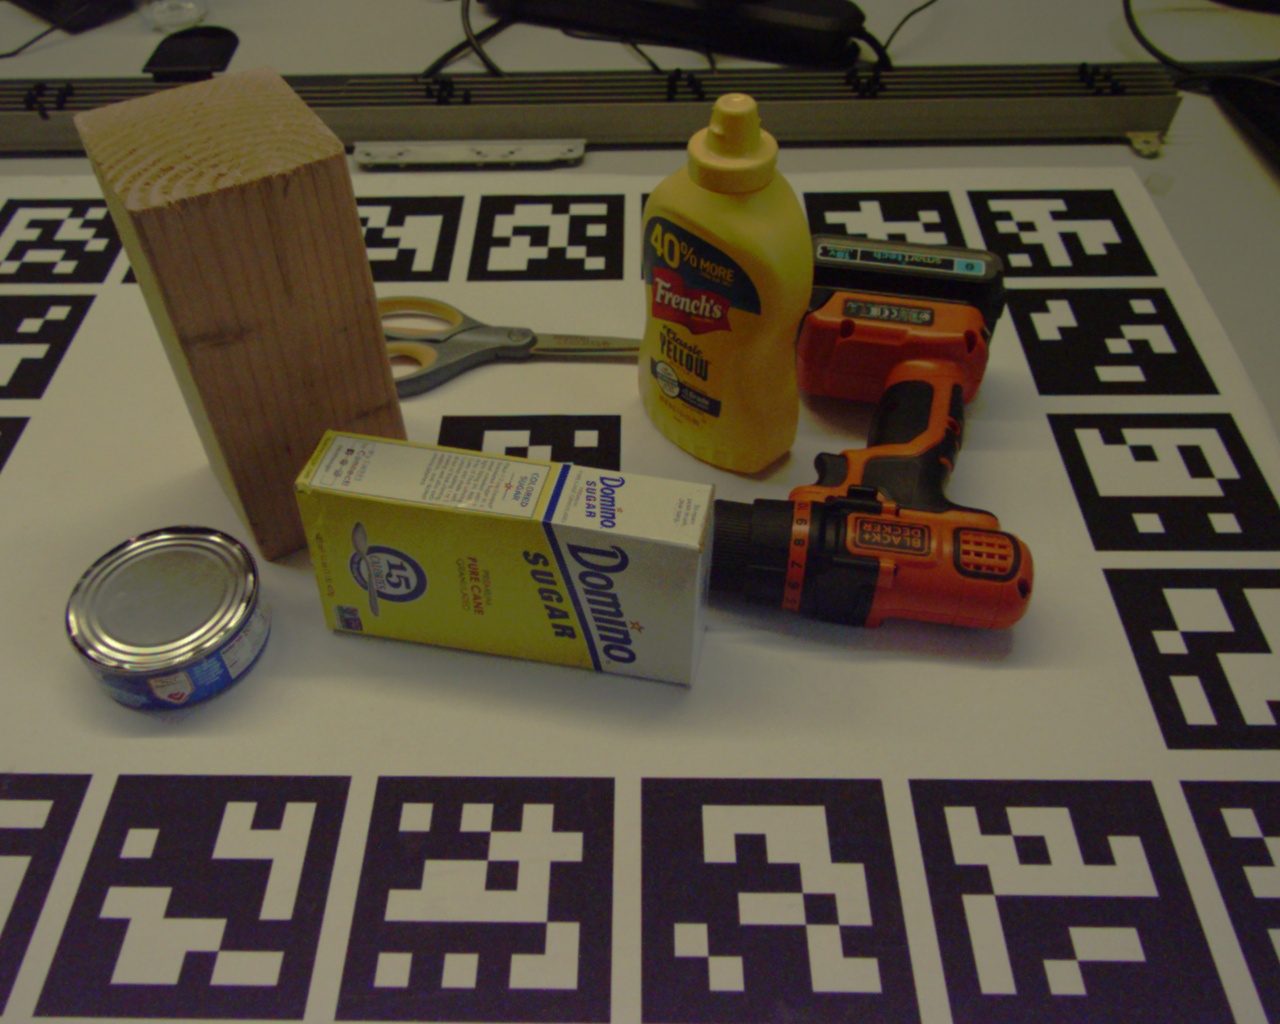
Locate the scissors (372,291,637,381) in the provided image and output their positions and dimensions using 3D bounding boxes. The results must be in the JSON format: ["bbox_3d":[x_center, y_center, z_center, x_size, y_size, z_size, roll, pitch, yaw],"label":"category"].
[{"bbox_3d":[-0.102,-0.106,0.702,0.203,0.016,0.088,1,45,3],"label":"scissors"}]

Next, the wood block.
[{"bbox_3d":[-0.183,-0.086,0.576,0.090,0.205,0.091,-22,53,-18],"label":"wood block"}]

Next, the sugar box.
[{"bbox_3d":[-0.059,0.021,0.542,0.177,0.092,0.045,10,47,8],"label":"sugar box"}]

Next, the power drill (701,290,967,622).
[{"bbox_3d":[0.084,-0.034,0.607,0.185,0.057,0.187,10,57,10],"label":"power drill"}]

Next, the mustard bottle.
[{"bbox_3d":[0.036,-0.111,0.598,0.058,0.191,0.097,-33,57,-24],"label":"mustard bottle"}]

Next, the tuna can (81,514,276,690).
[{"bbox_3d":[-0.225,0.044,0.560,0.086,0.033,0.086,-1,50,0],"label":"tuna can"}]
